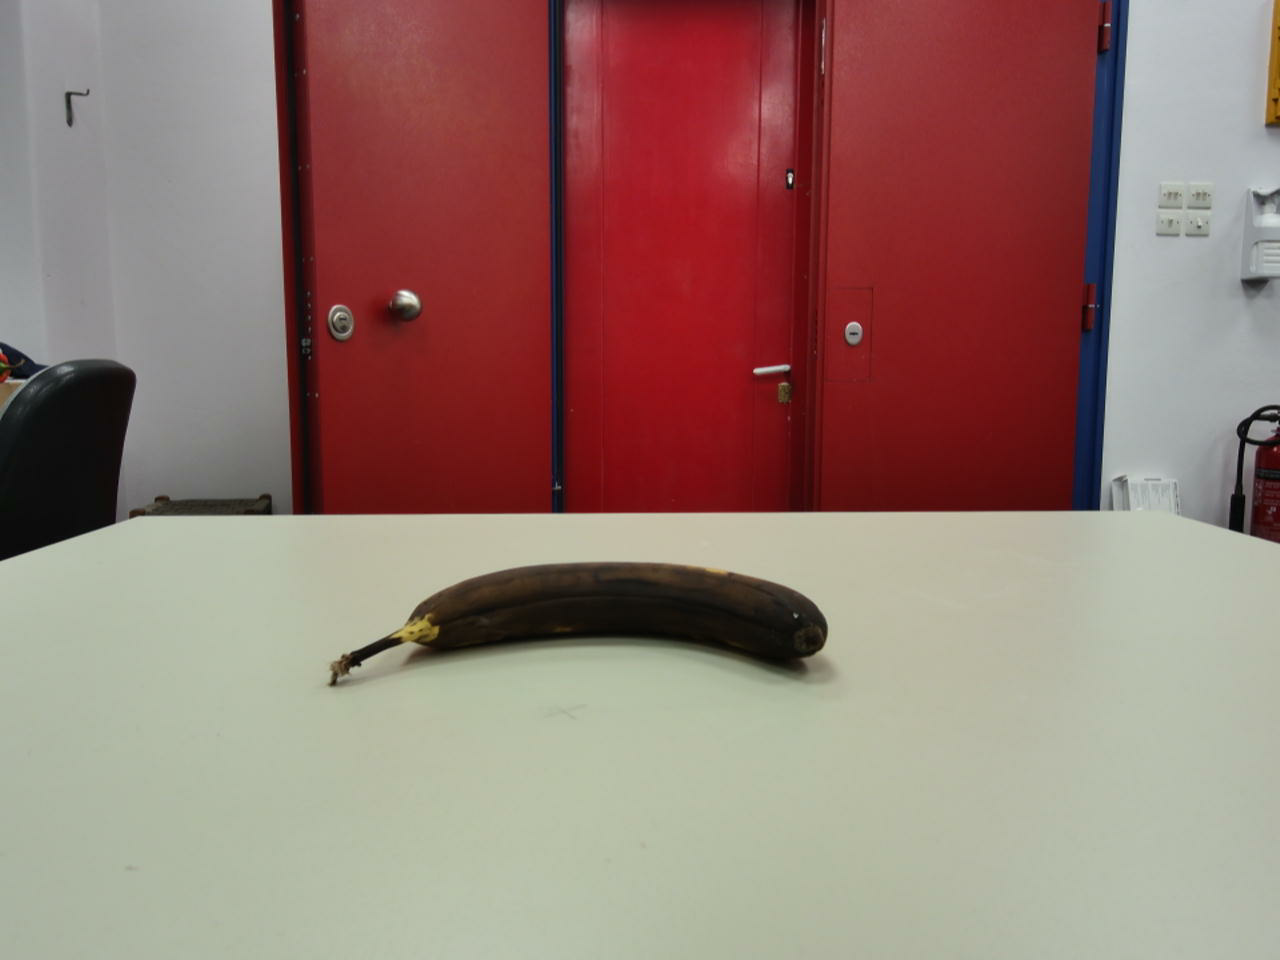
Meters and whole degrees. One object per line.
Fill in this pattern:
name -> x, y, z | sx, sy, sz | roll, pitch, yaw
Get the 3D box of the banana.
banana -> -0.021, 0.054, 0.413 | 0.188, 0.033, 0.091 | 0, 4, 1
